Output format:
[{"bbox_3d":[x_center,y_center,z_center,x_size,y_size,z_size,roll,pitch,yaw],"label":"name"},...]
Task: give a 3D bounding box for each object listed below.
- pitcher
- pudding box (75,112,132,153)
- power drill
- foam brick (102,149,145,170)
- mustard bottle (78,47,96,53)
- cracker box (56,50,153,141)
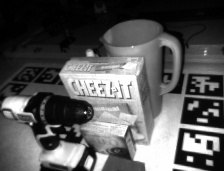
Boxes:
[{"bbox_3d":[0.069,-0.036,0.538,0.186,0.245,0.134,7,45,28],"label":"pitcher"},{"bbox_3d":[-0.017,0.105,0.493,0.112,0.091,0.039,2,41,24],"label":"pudding box"},{"bbox_3d":[-0.110,0.090,0.429,0.183,0.188,0.057,3,40,20],"label":"power drill"},{"bbox_3d":[0.022,0.175,0.450,0.077,0.052,0.053,5,46,23],"label":"foam brick"},{"bbox_3d":[-0.051,-0.035,0.592,0.095,0.193,0.059,14,49,31],"label":"mustard bottle"},{"bbox_3d":[-0.006,0.033,0.489,0.162,0.215,0.072,0,40,22],"label":"cracker box"}]
